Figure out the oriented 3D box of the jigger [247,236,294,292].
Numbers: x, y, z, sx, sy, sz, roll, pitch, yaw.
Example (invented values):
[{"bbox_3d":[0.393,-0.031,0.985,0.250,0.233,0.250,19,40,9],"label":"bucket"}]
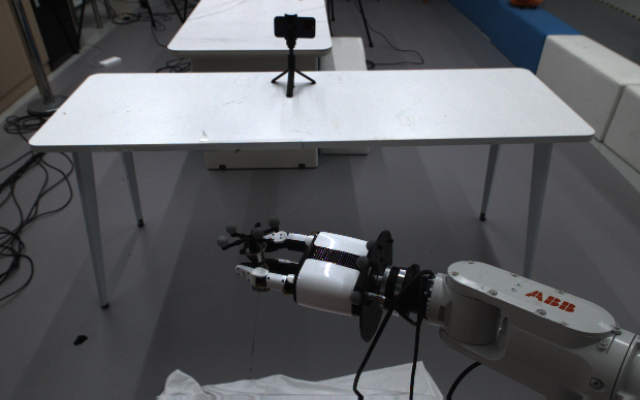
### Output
[{"bbox_3d":[-0.092,0.101,0.745,0.043,0.071,0.043,-12,24,5],"label":"jigger"}]
